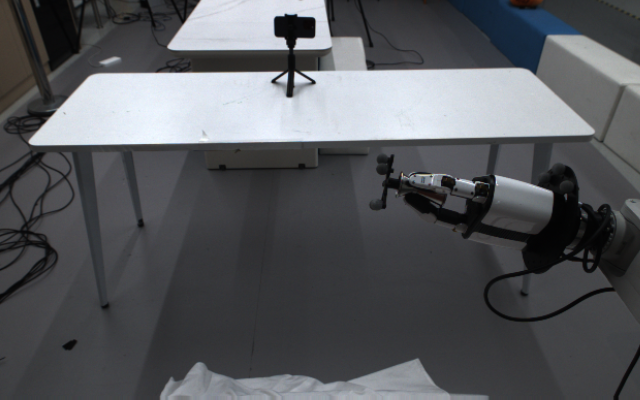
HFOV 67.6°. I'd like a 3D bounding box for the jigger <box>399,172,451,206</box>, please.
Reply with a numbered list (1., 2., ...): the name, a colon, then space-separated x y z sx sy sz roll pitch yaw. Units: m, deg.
1. jigger: 0.154 -0.020 0.705 0.071 0.043 0.043 10 35 2
